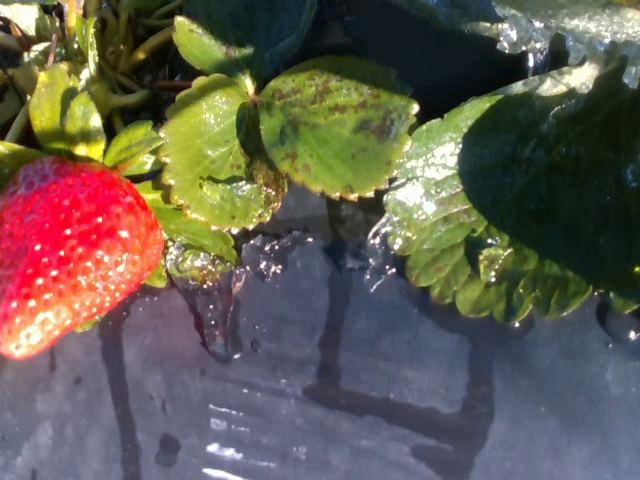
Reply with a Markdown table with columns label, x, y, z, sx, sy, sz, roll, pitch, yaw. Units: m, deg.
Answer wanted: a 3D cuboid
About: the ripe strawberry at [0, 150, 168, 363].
| label | x | y | z | sx | sy | sz | roll | pitch | yaw |
| --- | --- | --- | --- | --- | --- | --- | --- | --- | --- |
| ripe strawberry | -0.064 | 0.011 | 0.143 | 0.042 | 0.046 | 0.061 | 2 | 44 | 15 |
